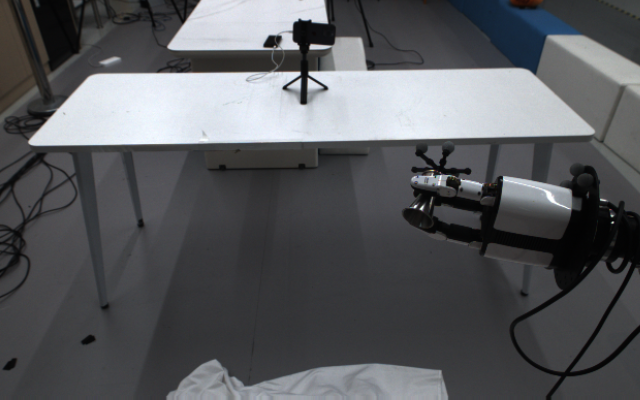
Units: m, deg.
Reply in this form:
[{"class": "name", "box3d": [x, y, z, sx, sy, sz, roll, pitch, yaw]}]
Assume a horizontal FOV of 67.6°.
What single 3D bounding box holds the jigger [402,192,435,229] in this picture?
[{"class": "jigger", "box3d": [0.142, -0.006, 0.647, 0.043, 0.043, 0.071, 19, 61, 23]}]
